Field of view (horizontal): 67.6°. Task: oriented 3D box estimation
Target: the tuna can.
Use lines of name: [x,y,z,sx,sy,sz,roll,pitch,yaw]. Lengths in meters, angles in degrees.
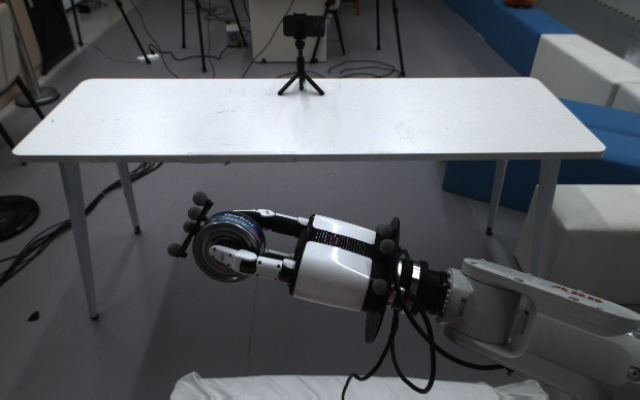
tuna can: [-0.109,0.063,0.597,0.085,0.085,0.034,4,21,2]
